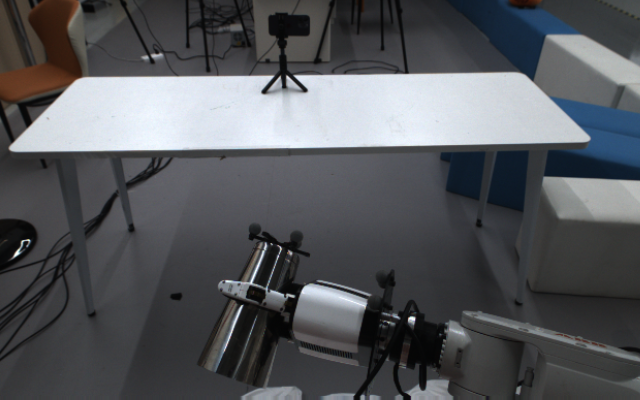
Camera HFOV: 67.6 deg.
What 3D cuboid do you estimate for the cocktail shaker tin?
[{"bbox_3d":[-0.086,0.145,0.632,0.093,0.093,0.170,14,69,16],"label":"cocktail shaker tin"}]
